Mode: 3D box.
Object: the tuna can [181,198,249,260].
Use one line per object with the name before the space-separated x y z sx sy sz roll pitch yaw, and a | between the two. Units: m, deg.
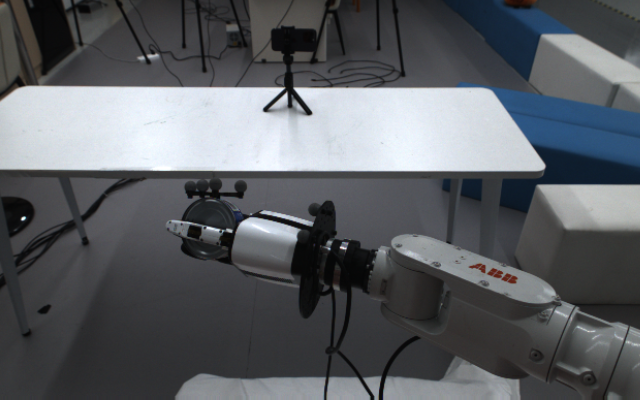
tuna can | -0.148 0.040 0.676 0.085 0.085 0.034 15 0 18
